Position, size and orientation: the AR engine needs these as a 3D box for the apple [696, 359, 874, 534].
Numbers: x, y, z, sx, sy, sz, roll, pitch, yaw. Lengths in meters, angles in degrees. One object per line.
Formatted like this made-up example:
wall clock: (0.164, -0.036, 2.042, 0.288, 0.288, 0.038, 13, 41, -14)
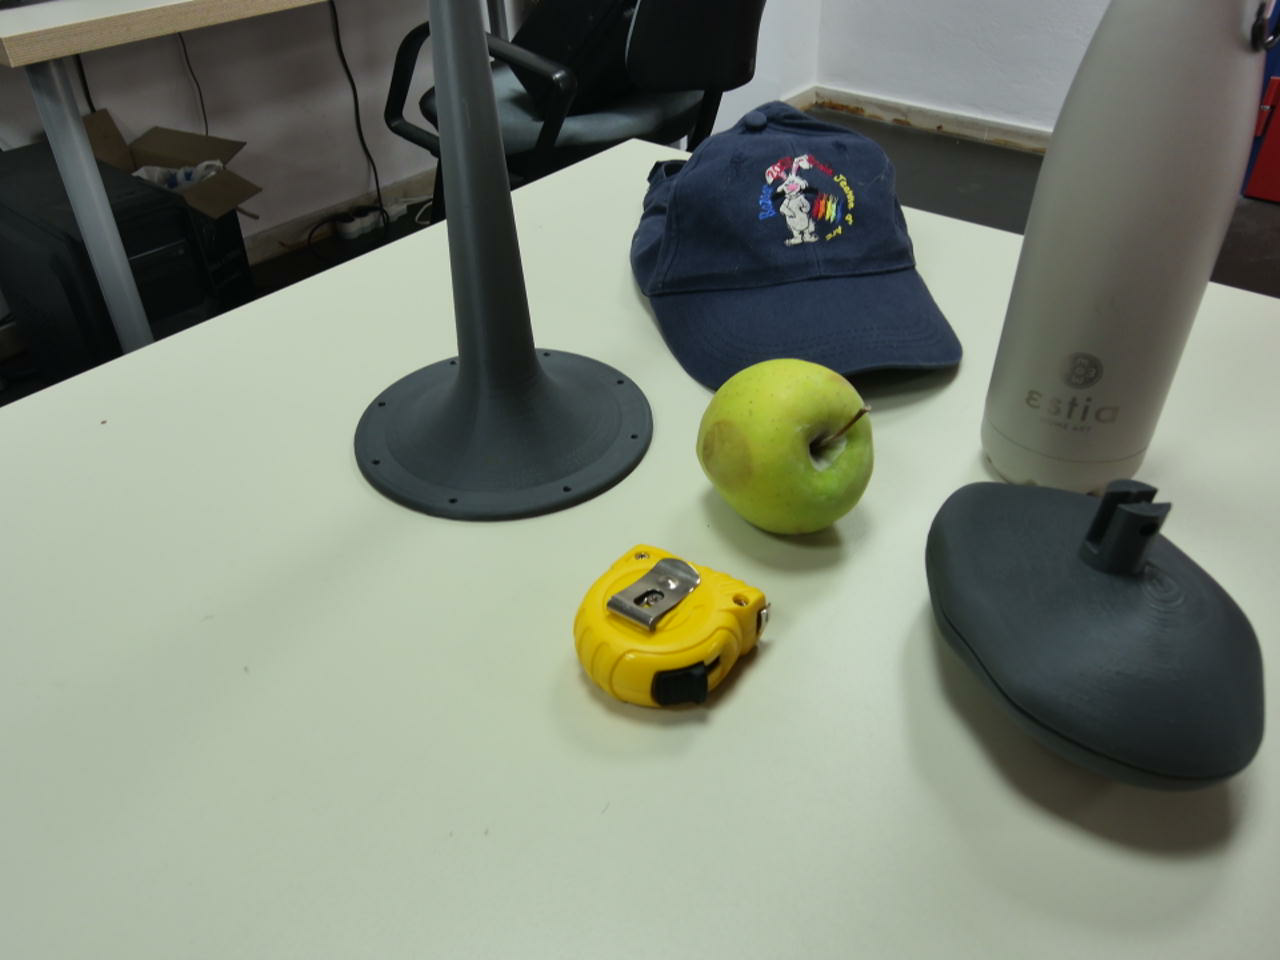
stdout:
apple: (0.063, -0.016, 0.428, 0.072, 0.075, 0.077, -4, 36, -4)
